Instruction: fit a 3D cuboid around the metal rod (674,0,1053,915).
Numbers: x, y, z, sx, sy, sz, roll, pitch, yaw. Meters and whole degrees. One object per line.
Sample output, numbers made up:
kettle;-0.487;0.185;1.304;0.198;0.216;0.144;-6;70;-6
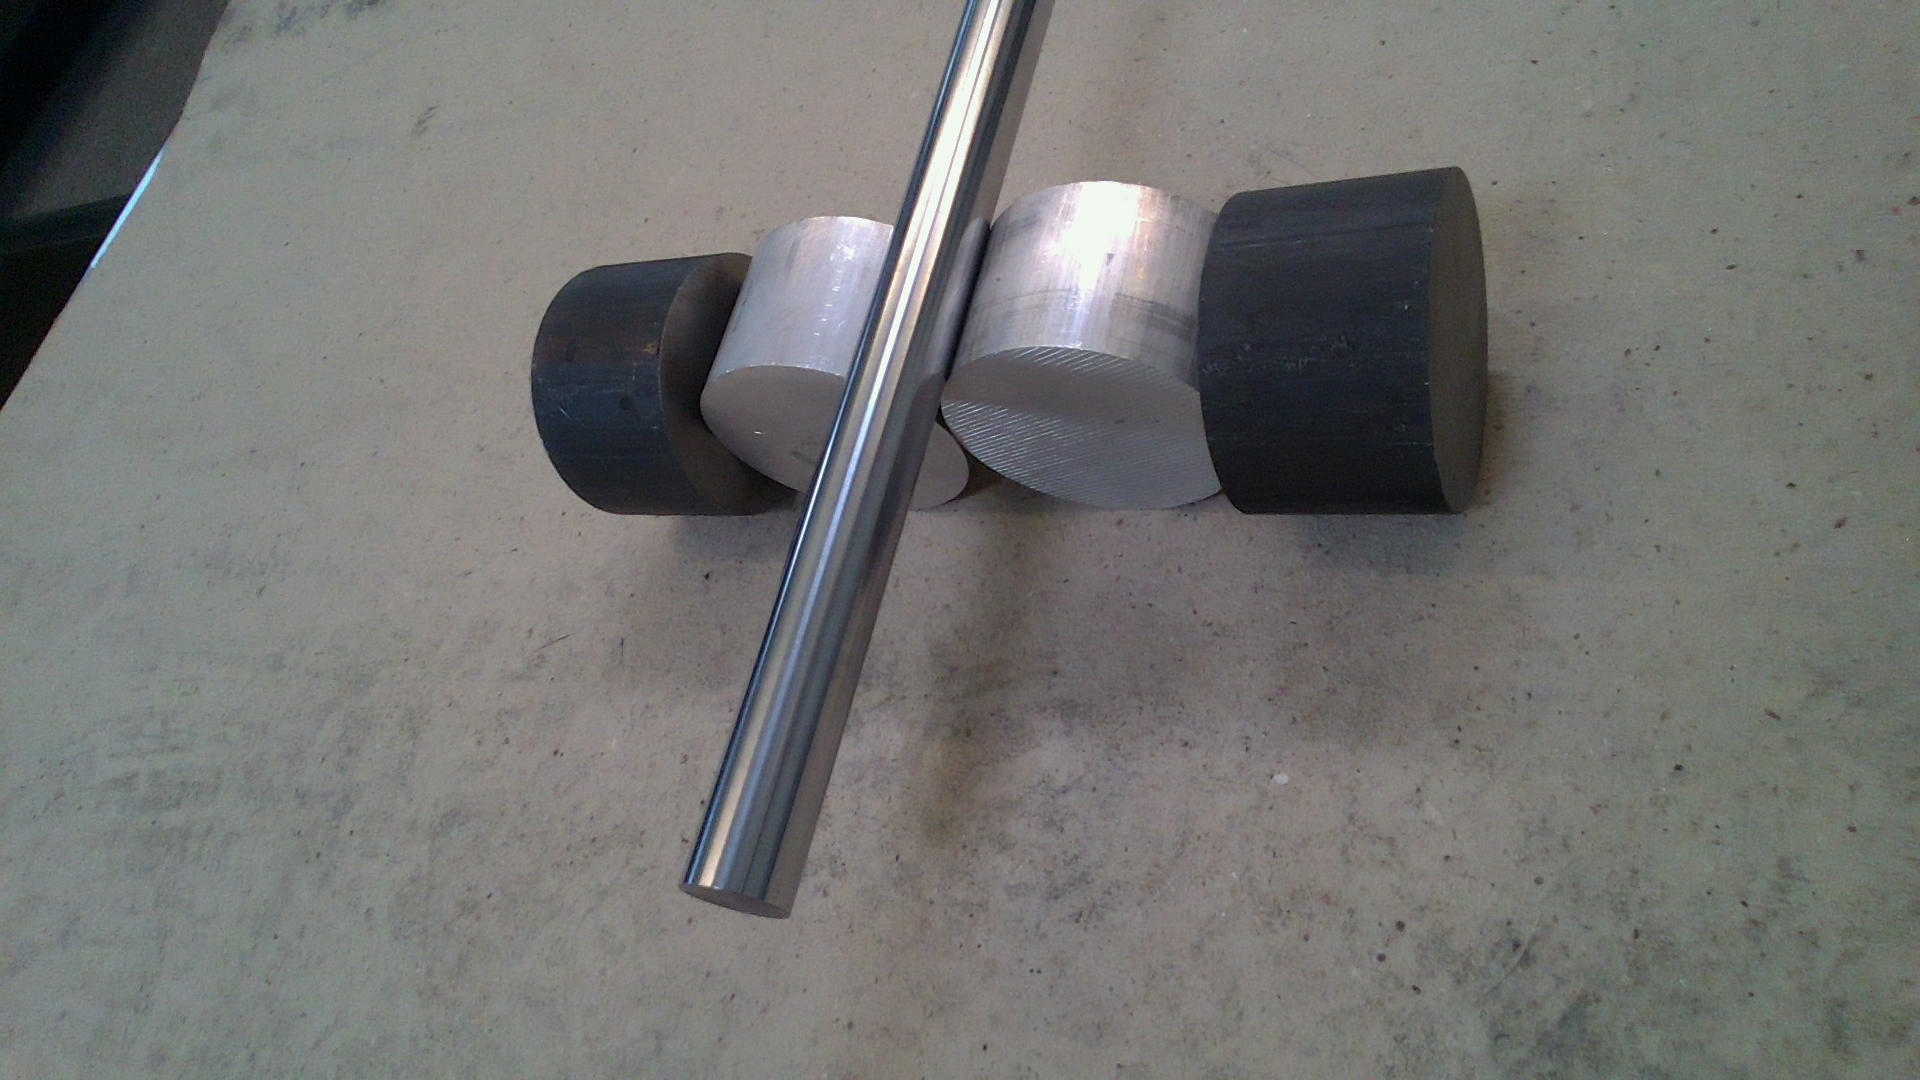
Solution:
metal rod;-0.013;-0.055;0.355;0.025;0.025;0.300;1;62;29

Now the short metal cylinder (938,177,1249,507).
short metal cylinder;0.039;-0.050;0.368;0.080;0.080;0.050;1;62;29

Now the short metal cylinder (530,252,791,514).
short metal cylinder;-0.088;-0.048;0.436;0.050;0.080;0.080;1;62;29

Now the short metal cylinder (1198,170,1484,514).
short metal cylinder;0.095;-0.046;0.336;0.050;0.080;0.080;1;62;29

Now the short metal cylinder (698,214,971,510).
short metal cylinder;-0.031;-0.050;0.406;0.080;0.080;0.050;1;62;29
